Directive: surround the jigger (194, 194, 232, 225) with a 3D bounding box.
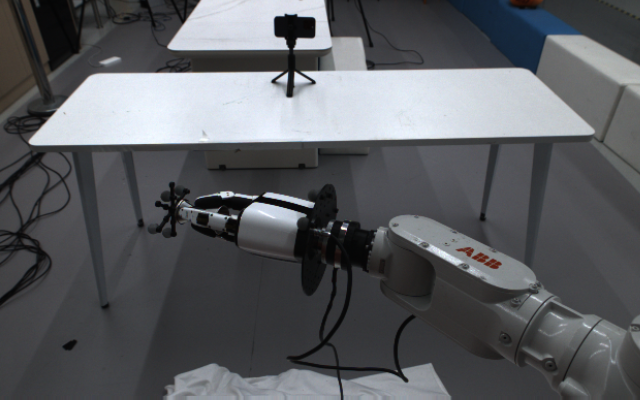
[{"bbox_3d":[-0.171,0.020,0.722,0.071,0.043,0.043,10,35,16],"label":"jigger"}]
